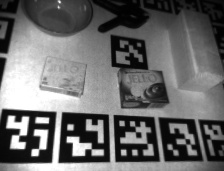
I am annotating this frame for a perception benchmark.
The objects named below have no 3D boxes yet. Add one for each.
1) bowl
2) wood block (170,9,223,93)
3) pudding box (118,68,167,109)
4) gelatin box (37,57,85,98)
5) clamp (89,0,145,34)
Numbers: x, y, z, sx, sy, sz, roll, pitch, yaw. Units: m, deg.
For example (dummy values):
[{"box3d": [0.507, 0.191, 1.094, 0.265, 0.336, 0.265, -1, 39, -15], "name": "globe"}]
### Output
[{"box3d": [-0.137, -0.177, 0.534, 0.163, 0.055, 0.161, 7, 67, -16], "name": "bowl"}, {"box3d": [0.228, -0.095, 0.587, 0.090, 0.090, 0.205, 8, 65, -15], "name": "wood block"}, {"box3d": [0.071, 0.009, 0.520, 0.114, 0.038, 0.089, 4, 69, -14], "name": "pudding box"}, {"box3d": [-0.110, -0.017, 0.476, 0.090, 0.030, 0.073, 13, 65, -12], "name": "gelatin box"}, {"box3d": [0.015, -0.197, 0.605, 0.167, 0.036, 0.121, -5, 68, -22], "name": "clamp"}]
